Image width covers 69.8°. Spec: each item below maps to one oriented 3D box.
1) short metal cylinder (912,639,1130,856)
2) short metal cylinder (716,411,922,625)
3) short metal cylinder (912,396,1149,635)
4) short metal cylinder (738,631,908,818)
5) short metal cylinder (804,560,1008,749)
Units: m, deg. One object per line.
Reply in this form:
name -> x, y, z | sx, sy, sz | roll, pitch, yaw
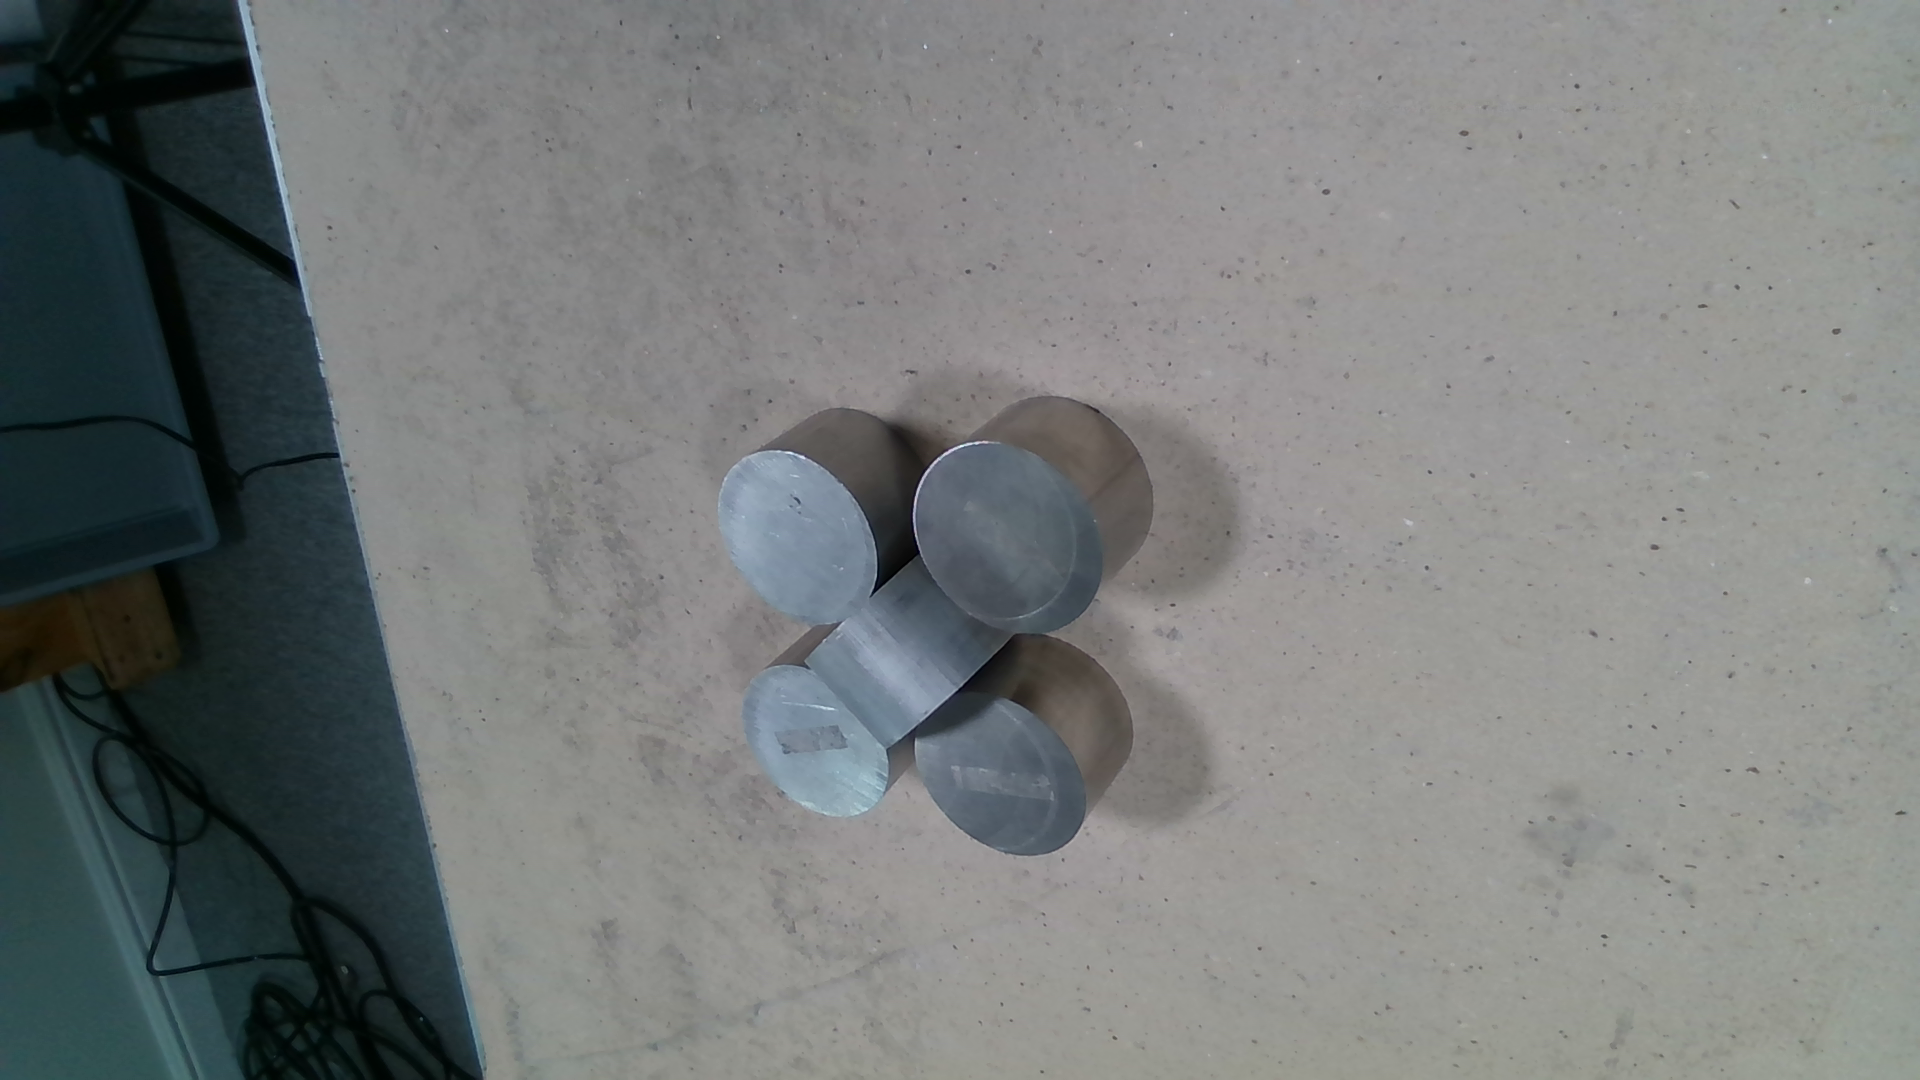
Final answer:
short metal cylinder -> 0.027, 0.088, 0.594 | 0.080, 0.050, 0.080 | 14, 122, 25
short metal cylinder -> -0.057, -0.010, 0.592 | 0.080, 0.050, 0.080 | 14, 122, 25
short metal cylinder -> 0.028, -0.010, 0.540 | 0.080, 0.050, 0.080 | 14, 122, 25
short metal cylinder -> -0.056, 0.082, 0.642 | 0.080, 0.050, 0.080 | 14, 122, 25
short metal cylinder -> -0.020, 0.043, 0.581 | 0.050, 0.080, 0.080 | 47, 129, 1
